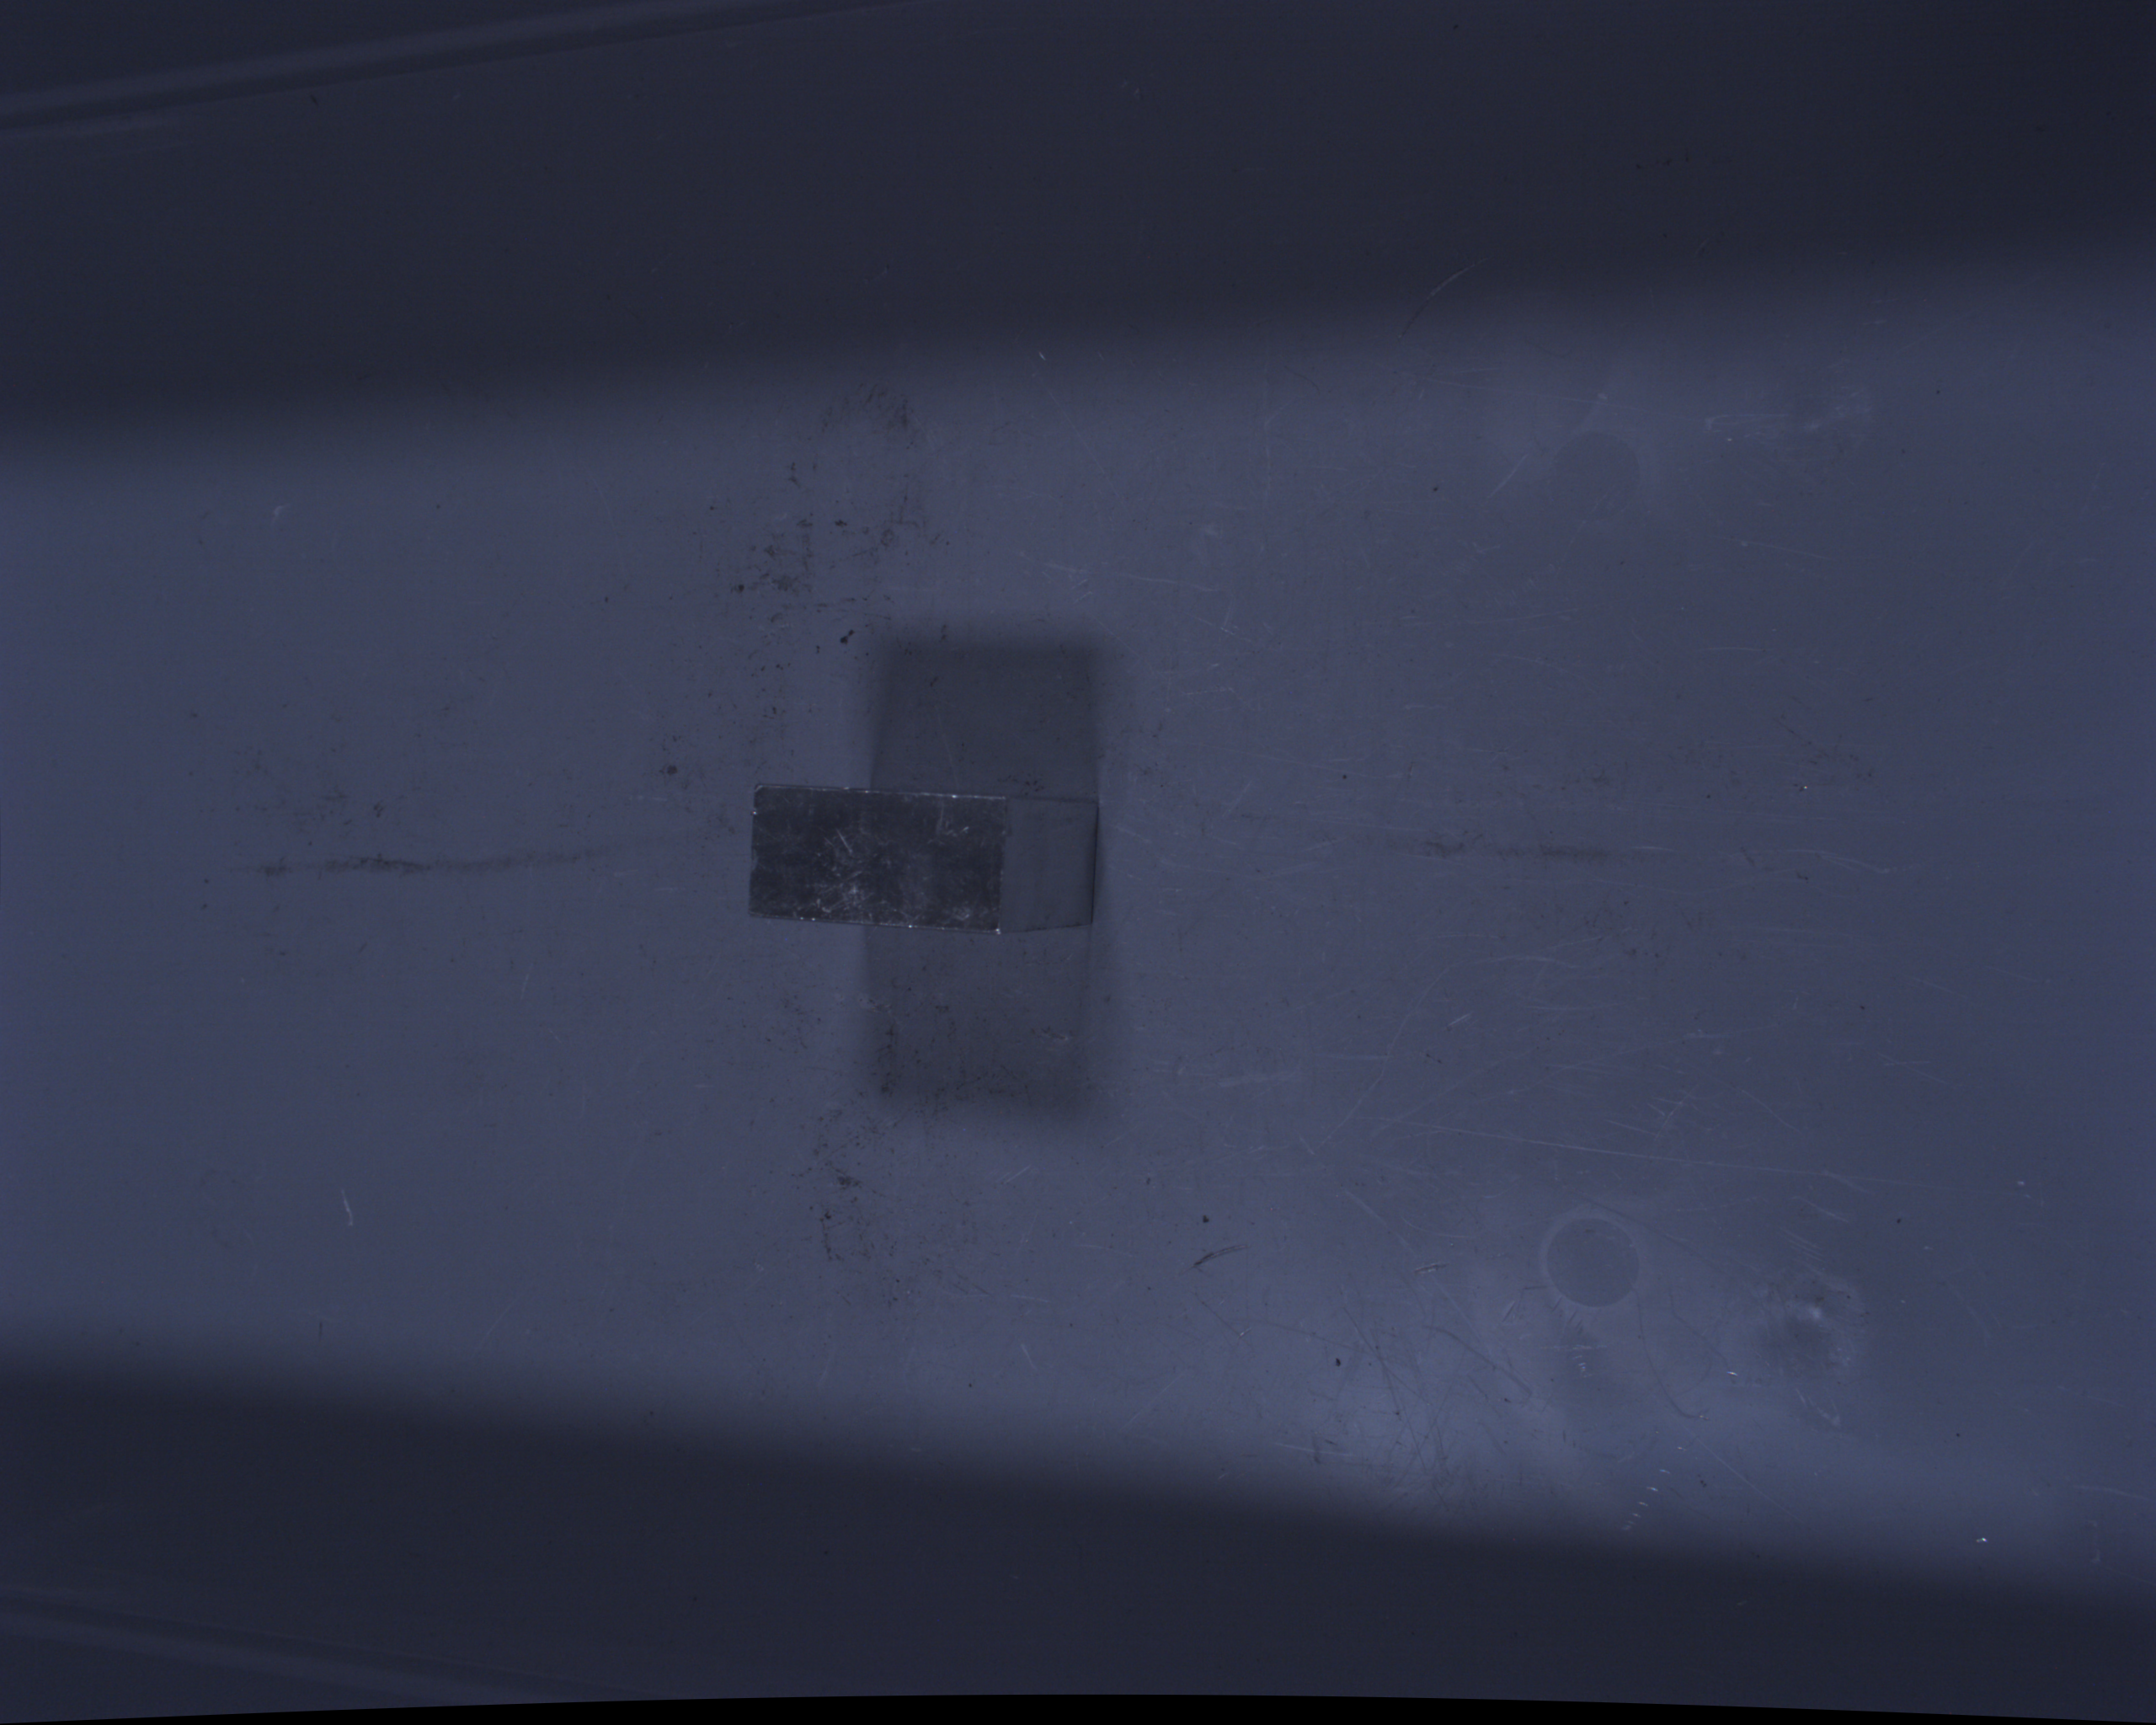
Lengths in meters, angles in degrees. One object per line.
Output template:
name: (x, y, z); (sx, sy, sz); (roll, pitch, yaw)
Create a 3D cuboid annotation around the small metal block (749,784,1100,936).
small metal block: (-0.028, -0.001, 0.403); (0.050, 0.050, 0.025); (3, 91, 19)
